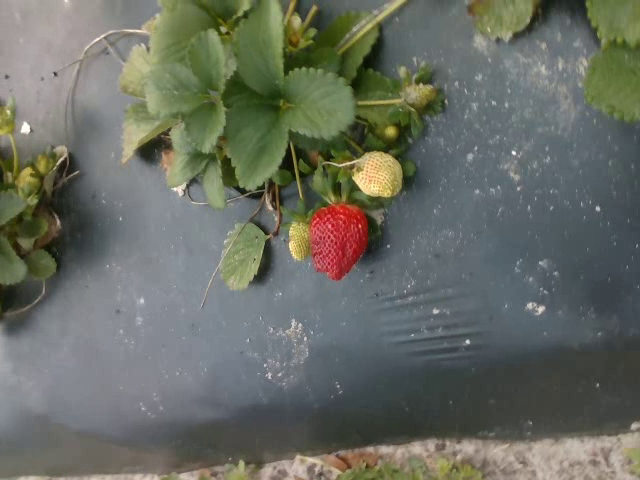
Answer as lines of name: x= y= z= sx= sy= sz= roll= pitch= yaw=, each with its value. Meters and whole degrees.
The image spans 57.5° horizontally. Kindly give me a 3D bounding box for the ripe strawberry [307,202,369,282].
ripe strawberry: x=0.012 y=0.004 z=0.382 sx=0.046 sy=0.059 sz=0.046 roll=-14 pitch=-36 yaw=35
